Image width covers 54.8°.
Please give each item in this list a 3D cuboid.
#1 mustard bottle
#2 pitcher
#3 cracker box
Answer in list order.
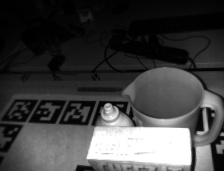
[{"bbox_3d":[0.001,0.086,0.506,0.095,0.193,0.058,8,50,25],"label":"mustard bottle"},{"bbox_3d":[0.126,0.074,0.465,0.187,0.245,0.133,1,46,21],"label":"pitcher"},{"bbox_3d":[0.064,0.151,0.411,0.163,0.216,0.072,-5,43,16],"label":"cracker box"}]
